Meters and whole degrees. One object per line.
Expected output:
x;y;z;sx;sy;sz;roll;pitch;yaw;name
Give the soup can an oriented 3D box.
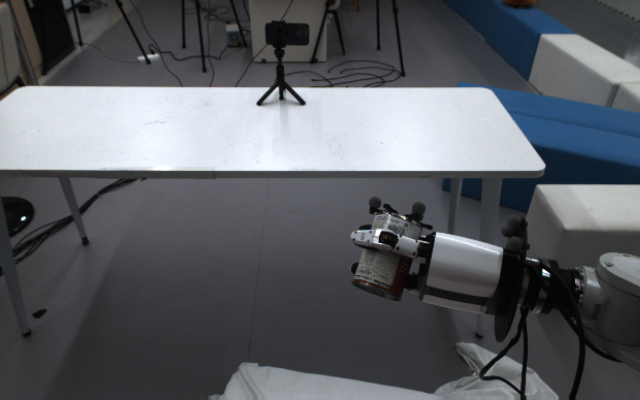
0.090;0.072;0.644;0.067;0.067;0.101;16;75;19;soup can
